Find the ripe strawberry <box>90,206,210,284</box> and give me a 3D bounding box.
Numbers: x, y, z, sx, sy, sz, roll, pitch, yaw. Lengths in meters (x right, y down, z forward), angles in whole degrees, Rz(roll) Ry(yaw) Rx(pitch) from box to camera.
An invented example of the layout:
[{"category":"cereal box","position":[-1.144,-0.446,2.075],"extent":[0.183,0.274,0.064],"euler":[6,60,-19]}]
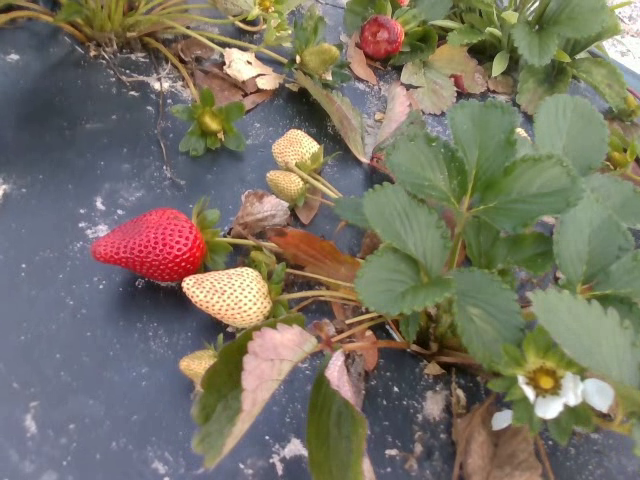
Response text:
[{"category":"ripe strawberry","position":[-0.083,0.002,0.299],"extent":[0.059,0.034,0.050],"euler":[-14,54,-42]}]
